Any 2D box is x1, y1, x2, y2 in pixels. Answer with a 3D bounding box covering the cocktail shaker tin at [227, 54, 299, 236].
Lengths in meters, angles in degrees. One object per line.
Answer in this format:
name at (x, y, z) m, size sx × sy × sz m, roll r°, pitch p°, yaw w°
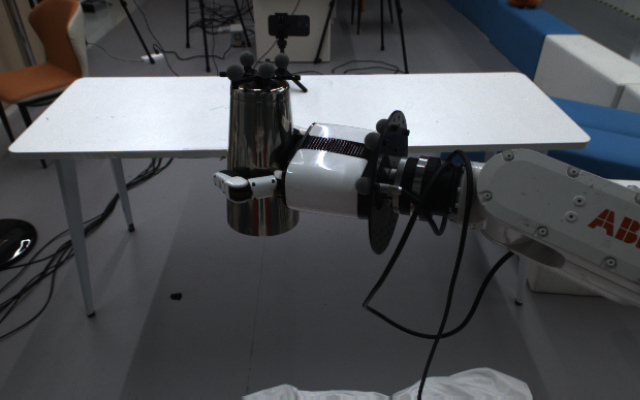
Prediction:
cocktail shaker tin at (-0.067, -0.053, 0.574) m, size 0.093 × 0.170 × 0.093 m, roll 2°, pitch 28°, yaw -1°
